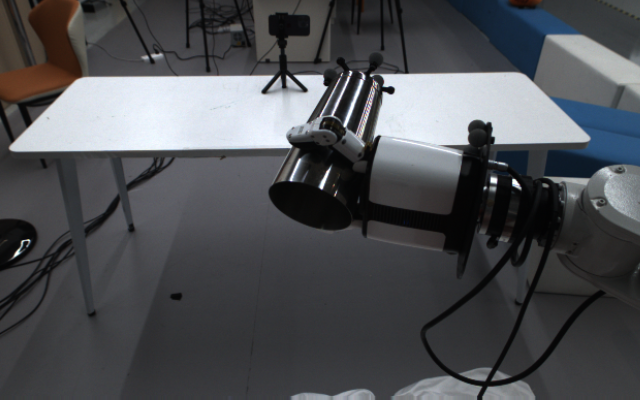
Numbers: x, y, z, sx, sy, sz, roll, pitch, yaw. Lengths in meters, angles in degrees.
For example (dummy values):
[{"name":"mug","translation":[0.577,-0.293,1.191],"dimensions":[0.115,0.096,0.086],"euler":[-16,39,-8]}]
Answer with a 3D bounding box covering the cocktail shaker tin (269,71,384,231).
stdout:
[{"name":"cocktail shaker tin","translation":[0.017,-0.061,0.541],"dimensions":[0.093,0.093,0.170],"euler":[13,60,16]}]
